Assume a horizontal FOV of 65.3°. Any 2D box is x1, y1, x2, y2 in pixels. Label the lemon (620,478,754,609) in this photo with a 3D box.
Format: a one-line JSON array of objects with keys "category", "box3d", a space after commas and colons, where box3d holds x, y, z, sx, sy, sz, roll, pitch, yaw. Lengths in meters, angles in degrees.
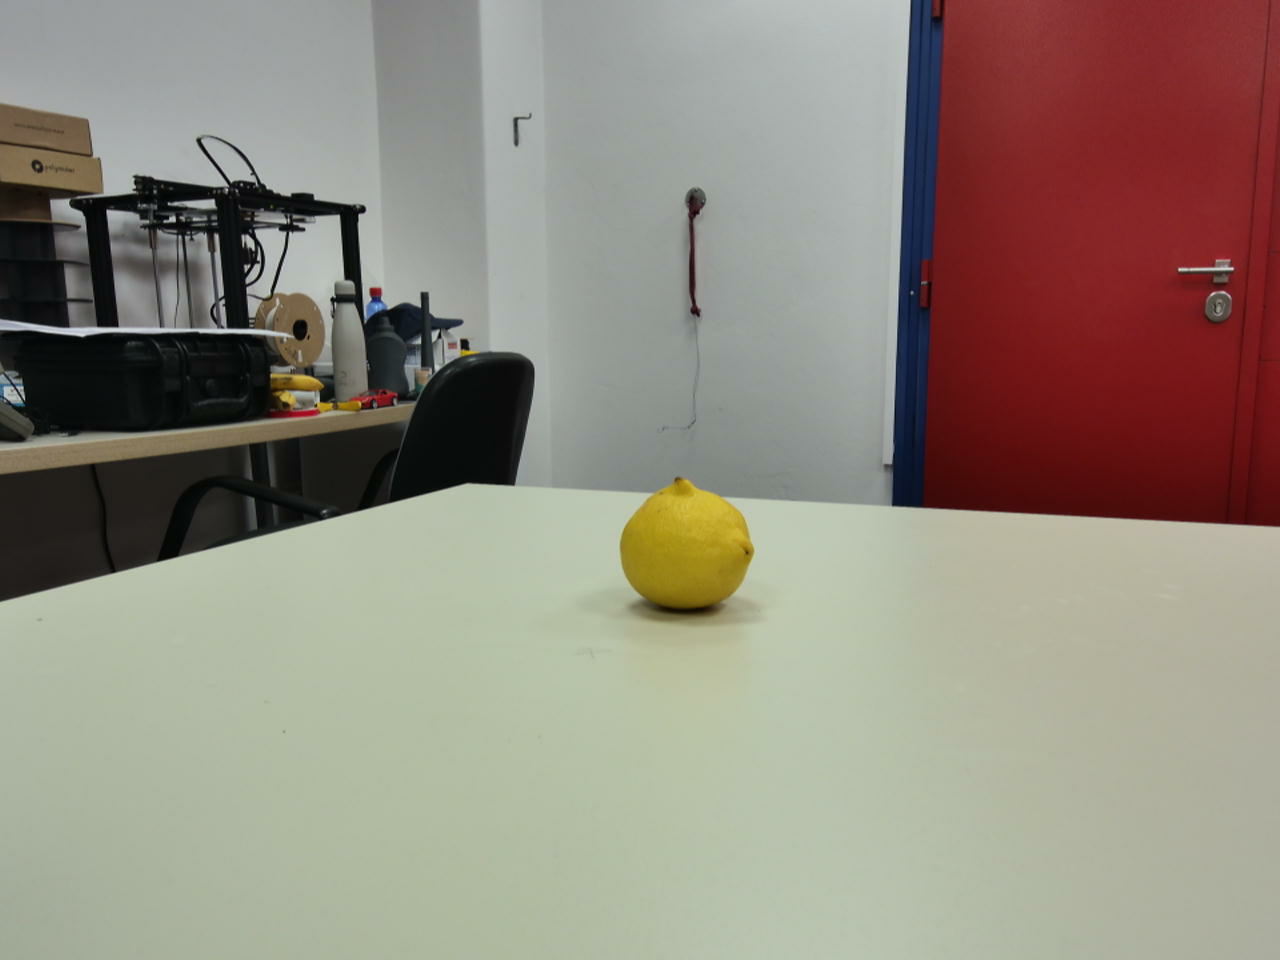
[{"category": "lemon", "box3d": [0.025, 0.034, 0.547, 0.070, 0.071, 0.071, -1, 6, -10]}]
